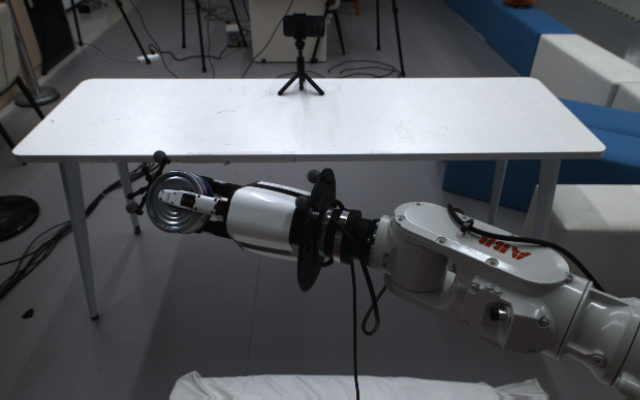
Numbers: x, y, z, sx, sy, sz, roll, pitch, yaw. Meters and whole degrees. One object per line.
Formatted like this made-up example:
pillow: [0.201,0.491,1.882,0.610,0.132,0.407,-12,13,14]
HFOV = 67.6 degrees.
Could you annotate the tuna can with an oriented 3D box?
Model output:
tuna can: [-0.188,0.003,0.656,0.085,0.085,0.034,9,-2,9]
